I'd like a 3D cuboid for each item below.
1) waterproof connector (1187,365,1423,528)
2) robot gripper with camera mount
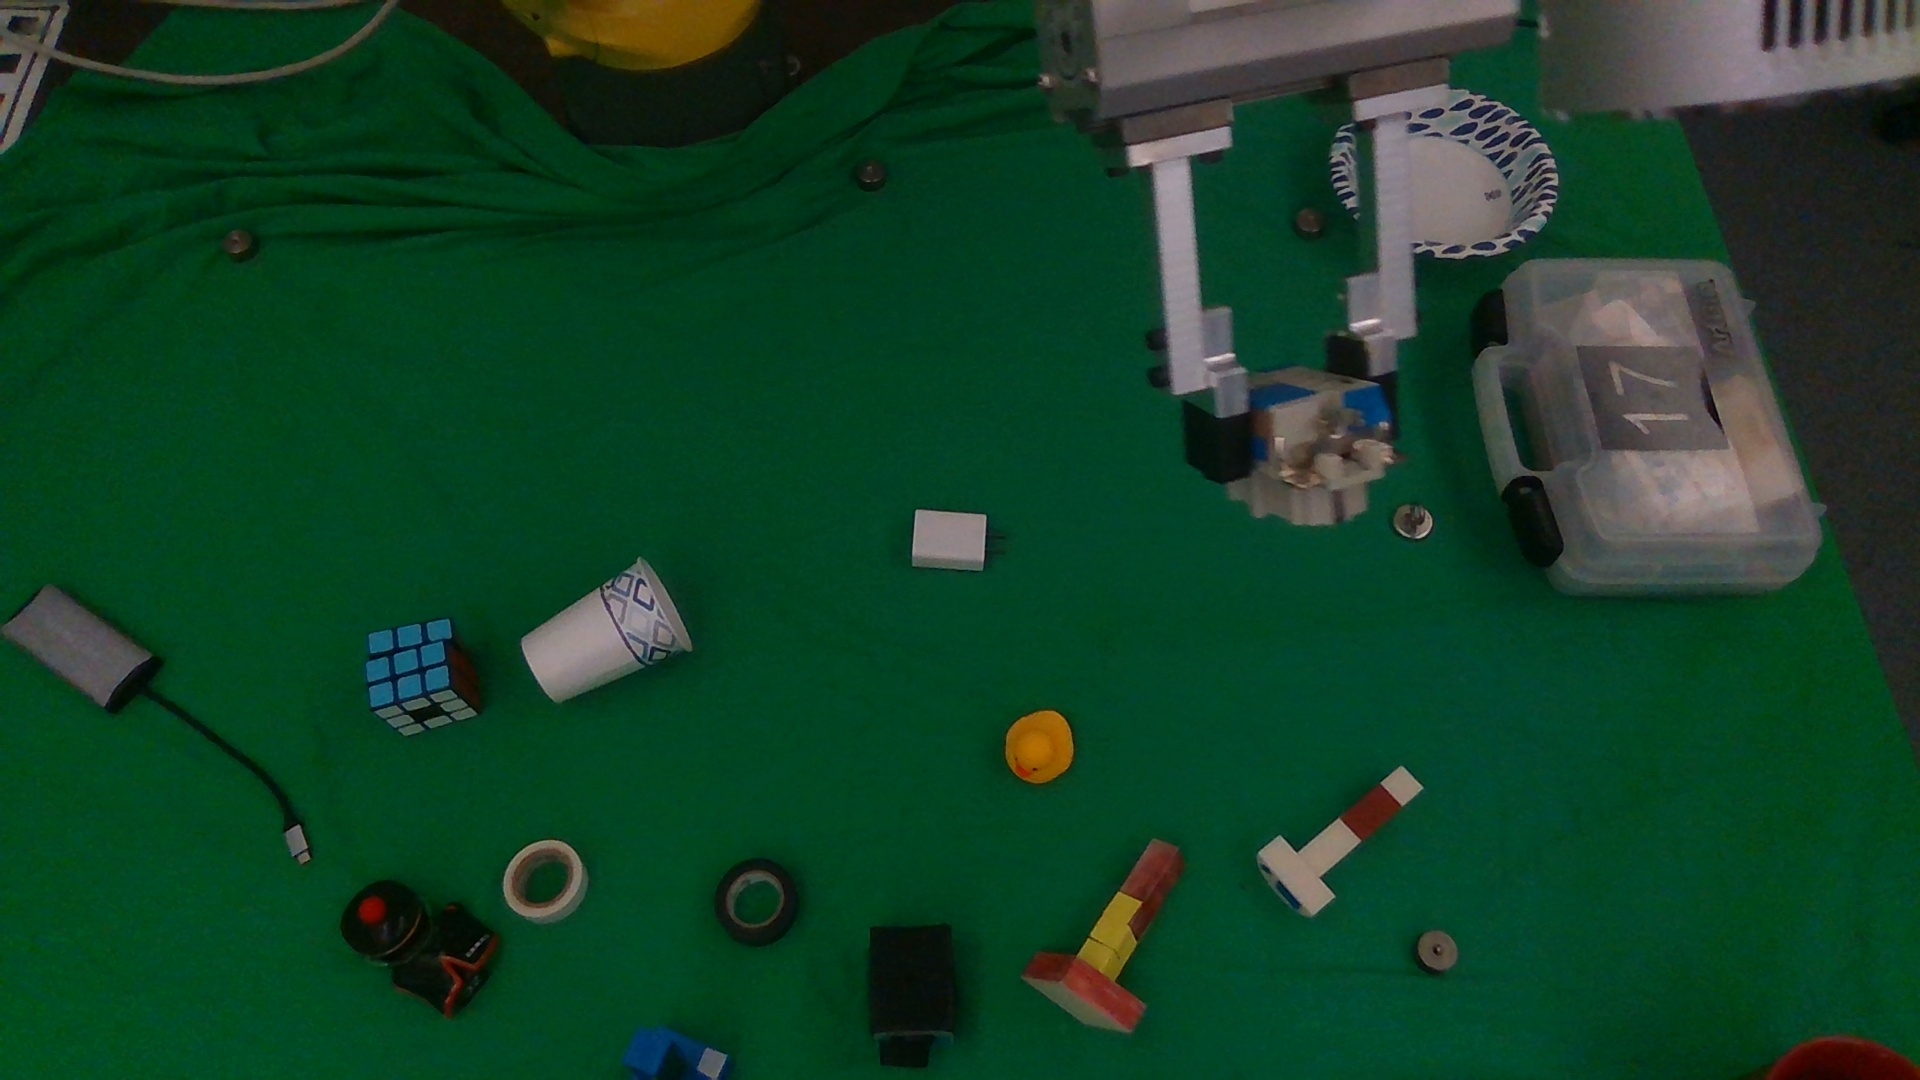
[{"bbox_3d":[0.093,-0.026,0.381,0.035,0.065,0.037,-15,108,-20],"label":"waterproof connector"},{"bbox_3d":[0.112,-0.080,0.285,0.119,0.194,0.158,-16,107,-16],"label":"robot gripper with camera mount"}]
